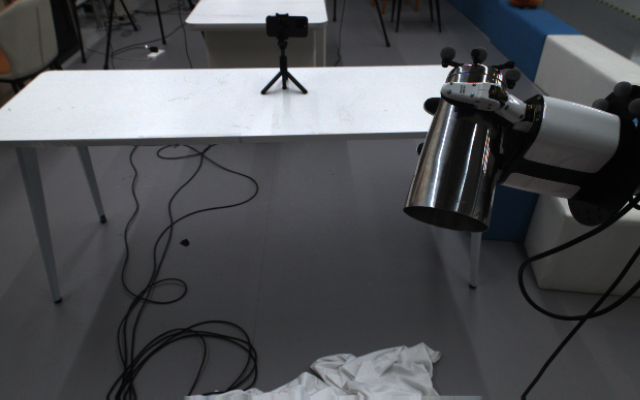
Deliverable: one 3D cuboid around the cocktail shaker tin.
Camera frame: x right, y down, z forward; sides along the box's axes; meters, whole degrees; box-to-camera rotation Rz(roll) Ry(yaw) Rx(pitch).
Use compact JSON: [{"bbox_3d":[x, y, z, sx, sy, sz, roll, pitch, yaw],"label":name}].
[{"bbox_3d":[0.160,-0.062,0.539,0.093,0.093,0.170,13,79,15],"label":"cocktail shaker tin"}]
